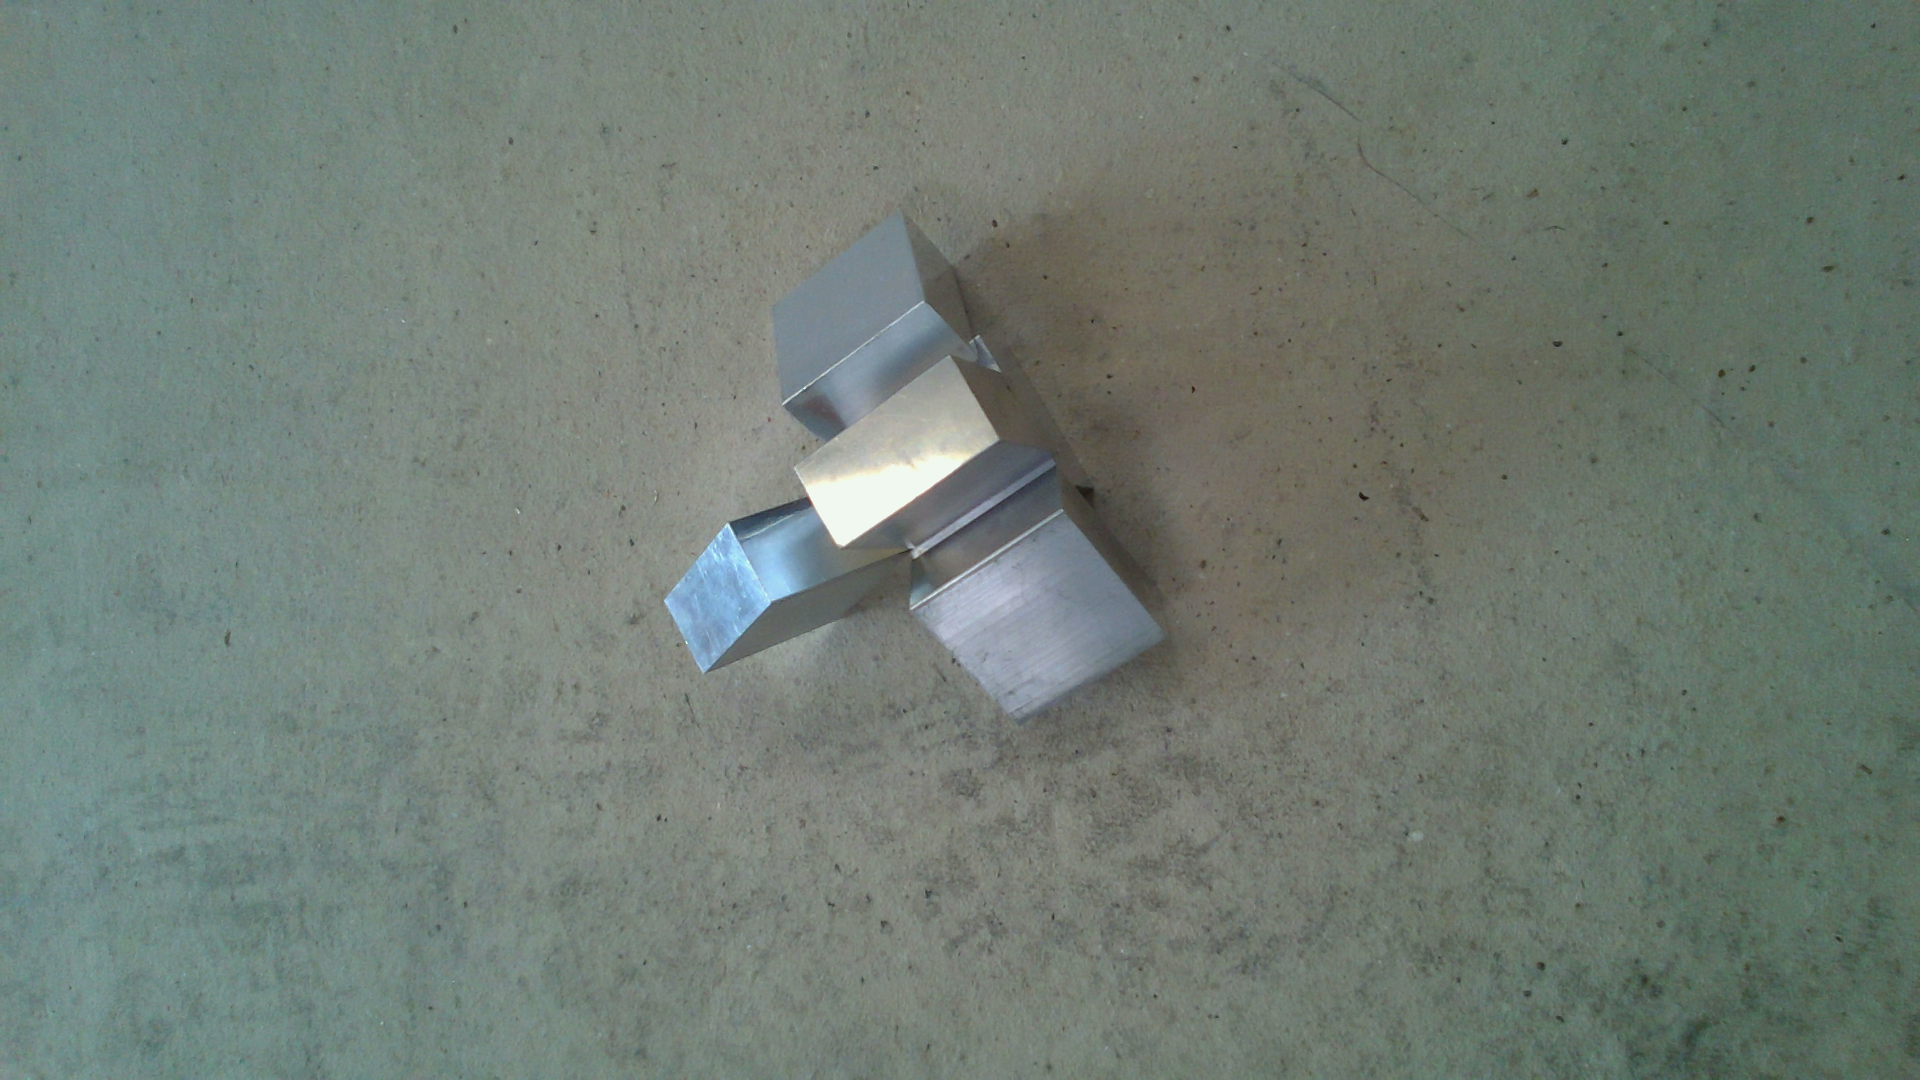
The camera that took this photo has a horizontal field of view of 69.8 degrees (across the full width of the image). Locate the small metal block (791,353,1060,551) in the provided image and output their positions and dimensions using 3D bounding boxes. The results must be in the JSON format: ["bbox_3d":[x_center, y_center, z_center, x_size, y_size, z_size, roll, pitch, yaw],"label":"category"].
[{"bbox_3d":[-0.008,-0.021,0.359,0.050,0.050,0.025,-34,80,17],"label":"small metal block"}]

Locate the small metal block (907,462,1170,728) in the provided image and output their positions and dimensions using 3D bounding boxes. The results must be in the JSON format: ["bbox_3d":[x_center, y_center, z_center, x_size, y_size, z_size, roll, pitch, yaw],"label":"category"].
[{"bbox_3d":[0.021,0.016,0.375,0.050,0.025,0.050,-34,115,17],"label":"small metal block"}]

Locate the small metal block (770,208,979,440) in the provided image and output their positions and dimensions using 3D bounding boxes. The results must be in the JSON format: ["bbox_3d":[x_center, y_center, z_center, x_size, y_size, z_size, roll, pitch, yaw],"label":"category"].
[{"bbox_3d":[-0.026,-0.059,0.392,0.050,0.025,0.050,-33,39,17],"label":"small metal block"}]

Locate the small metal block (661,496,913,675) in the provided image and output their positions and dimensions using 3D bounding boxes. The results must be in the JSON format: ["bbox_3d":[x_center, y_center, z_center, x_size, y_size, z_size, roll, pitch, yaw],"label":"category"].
[{"bbox_3d":[-0.050,0.010,0.391,0.050,0.050,0.025,-41,75,49],"label":"small metal block"}]

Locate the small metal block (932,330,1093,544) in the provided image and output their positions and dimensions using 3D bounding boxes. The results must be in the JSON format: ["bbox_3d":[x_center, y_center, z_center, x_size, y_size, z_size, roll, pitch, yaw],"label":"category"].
[{"bbox_3d":[0.002,-0.024,0.396,0.050,0.025,0.050,-34,79,19],"label":"small metal block"}]
